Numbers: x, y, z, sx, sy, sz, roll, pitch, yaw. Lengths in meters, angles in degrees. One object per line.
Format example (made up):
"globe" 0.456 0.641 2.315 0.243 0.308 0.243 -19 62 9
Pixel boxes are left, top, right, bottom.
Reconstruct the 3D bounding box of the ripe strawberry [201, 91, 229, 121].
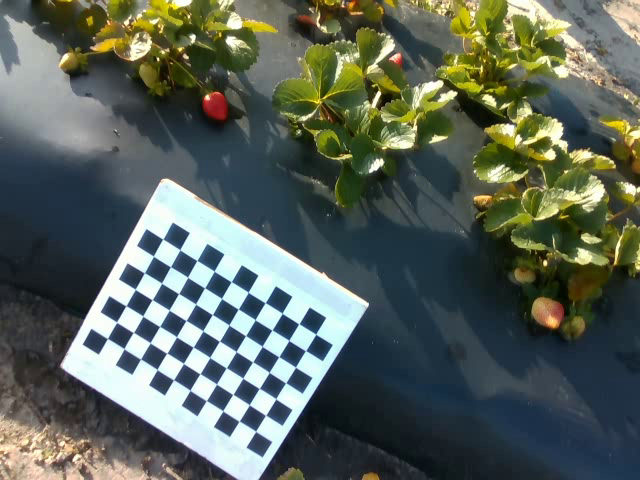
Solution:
"ripe strawberry" -0.119 -0.153 0.720 0.030 0.045 0.033 -29 -25 9
